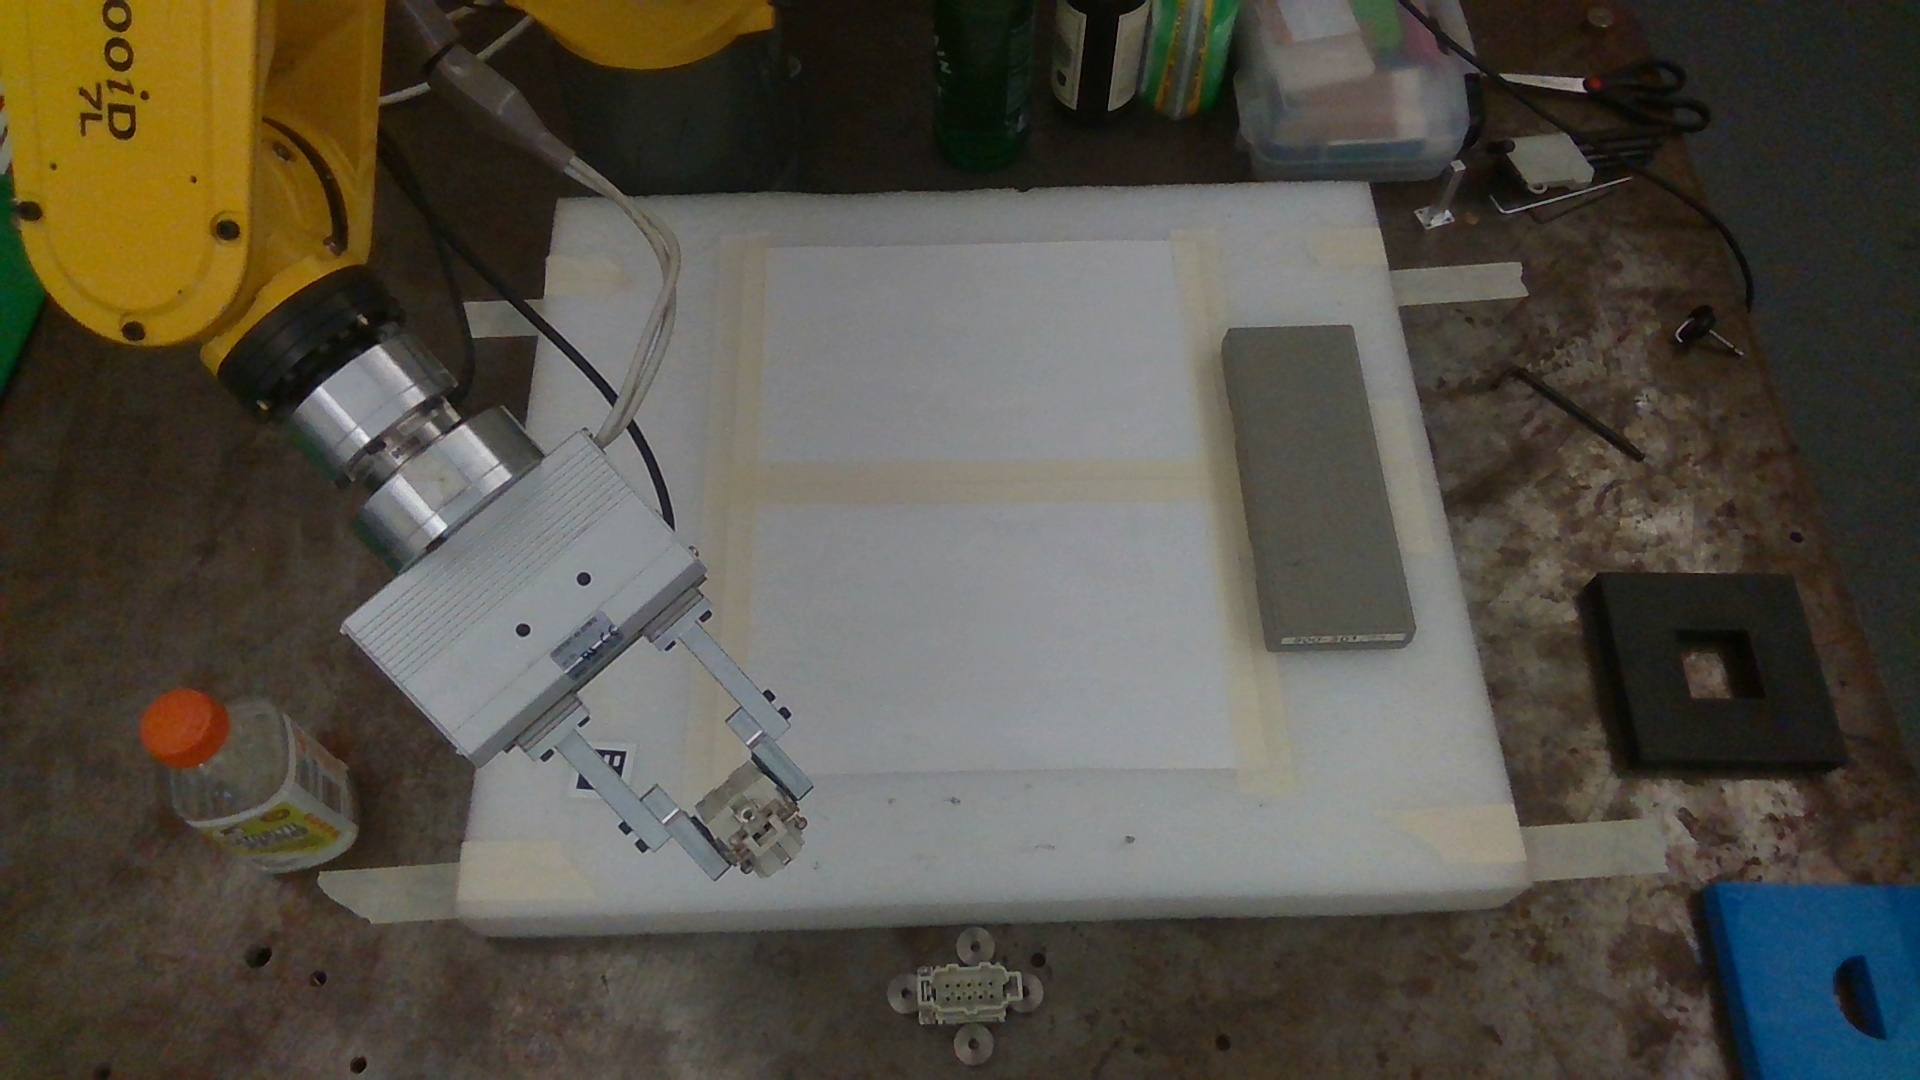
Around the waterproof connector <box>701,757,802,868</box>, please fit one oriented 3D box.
[{"bbox_3d":[-0.098,0.131,0.662,0.036,0.069,0.038,-43,101,-10],"label":"waterproof connector"}]
